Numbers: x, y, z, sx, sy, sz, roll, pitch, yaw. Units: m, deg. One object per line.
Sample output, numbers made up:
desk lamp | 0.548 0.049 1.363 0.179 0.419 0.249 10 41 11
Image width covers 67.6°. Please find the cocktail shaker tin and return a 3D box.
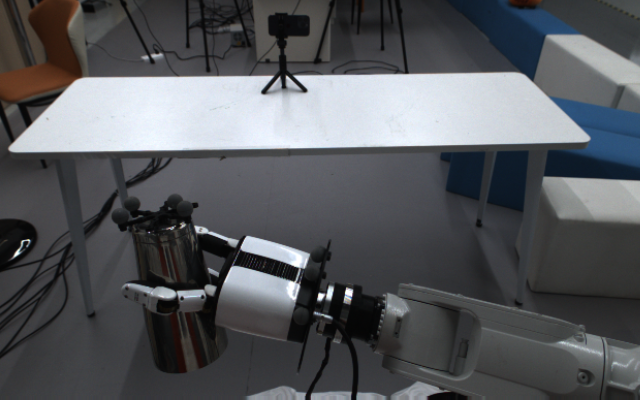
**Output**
cocktail shaker tin | -0.167 0.105 0.568 0.093 0.170 0.093 -6 19 2
